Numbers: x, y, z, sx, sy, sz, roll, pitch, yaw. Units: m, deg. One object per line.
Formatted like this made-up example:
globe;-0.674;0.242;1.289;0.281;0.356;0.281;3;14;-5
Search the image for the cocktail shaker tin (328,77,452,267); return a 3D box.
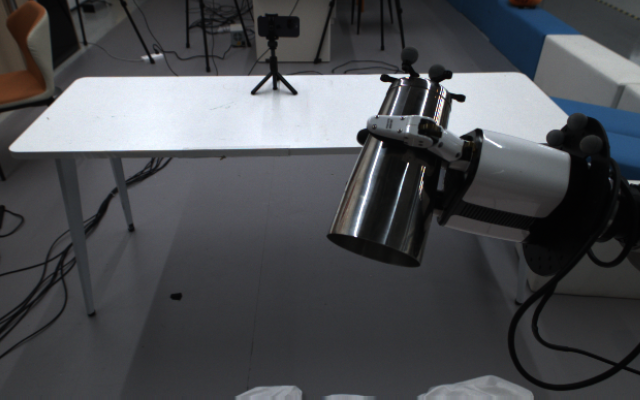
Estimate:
cocktail shaker tin;0.078;-0.029;0.474;0.093;0.093;0.170;14;75;17
